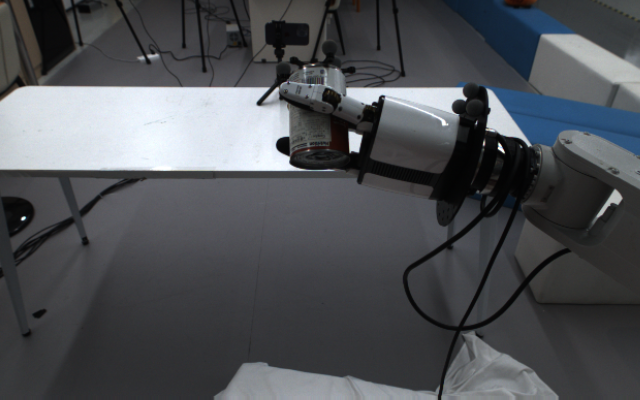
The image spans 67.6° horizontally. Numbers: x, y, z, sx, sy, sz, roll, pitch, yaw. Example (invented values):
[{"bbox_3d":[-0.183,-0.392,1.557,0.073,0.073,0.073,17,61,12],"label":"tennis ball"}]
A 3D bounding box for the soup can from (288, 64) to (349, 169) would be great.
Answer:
[{"bbox_3d":[-0.003,-0.094,0.546,0.067,0.067,0.101,-1,76,-4],"label":"soup can"}]
